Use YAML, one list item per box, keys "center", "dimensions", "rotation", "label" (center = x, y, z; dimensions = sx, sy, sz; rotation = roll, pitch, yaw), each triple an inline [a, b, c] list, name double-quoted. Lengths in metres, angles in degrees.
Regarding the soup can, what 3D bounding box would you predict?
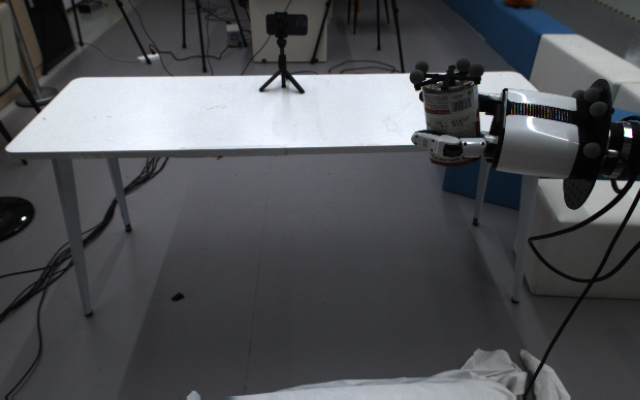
- center: [0.171, -0.102, 0.615]
  dimensions: [0.067, 0.101, 0.067]
  rotation: [-11, 27, 6]
  label: "soup can"
